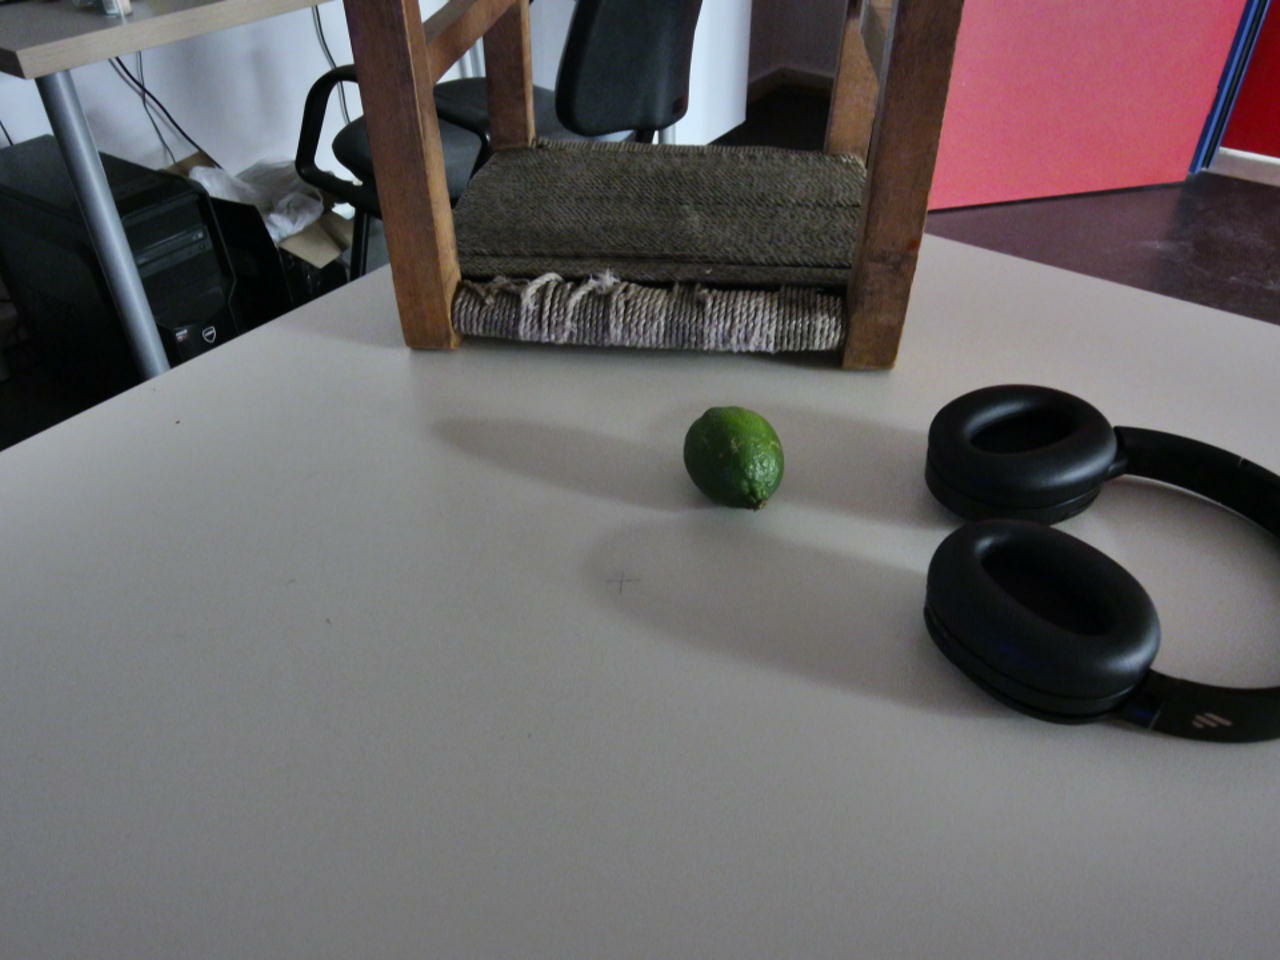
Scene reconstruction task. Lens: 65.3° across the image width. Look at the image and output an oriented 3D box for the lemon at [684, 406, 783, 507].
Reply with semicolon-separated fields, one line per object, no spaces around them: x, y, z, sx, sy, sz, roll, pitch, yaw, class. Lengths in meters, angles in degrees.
0.051;-0.014;0.542;0.057;0.051;0.054;22;43;27;lemon
